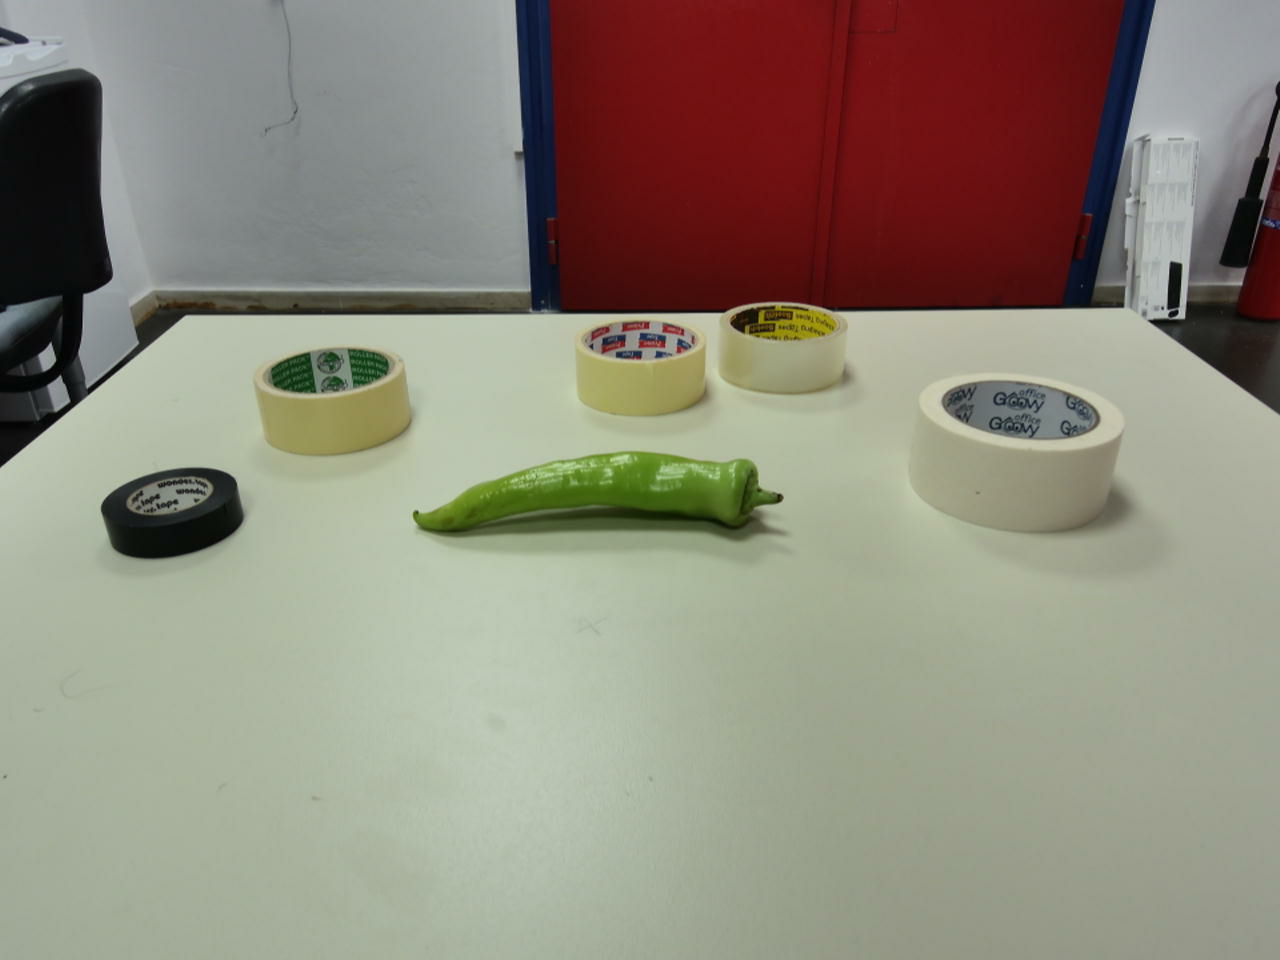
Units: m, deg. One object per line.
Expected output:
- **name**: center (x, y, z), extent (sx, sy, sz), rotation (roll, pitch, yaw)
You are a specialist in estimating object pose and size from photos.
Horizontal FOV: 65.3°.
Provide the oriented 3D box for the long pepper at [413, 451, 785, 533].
- **long pepper**: center (-0.023, 0.004, 0.537), extent (0.197, 0.038, 0.046), rotation (1, 26, 2)
